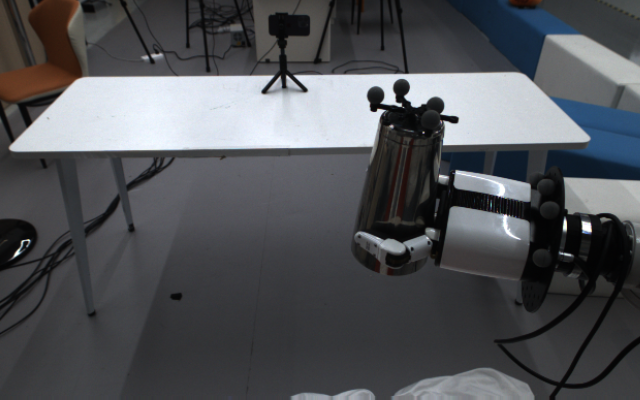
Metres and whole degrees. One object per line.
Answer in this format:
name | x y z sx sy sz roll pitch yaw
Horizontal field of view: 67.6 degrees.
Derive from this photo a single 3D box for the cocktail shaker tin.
cocktail shaker tin | 0.089 -0.011 0.536 0.093 0.170 0.093 3 34 -2
